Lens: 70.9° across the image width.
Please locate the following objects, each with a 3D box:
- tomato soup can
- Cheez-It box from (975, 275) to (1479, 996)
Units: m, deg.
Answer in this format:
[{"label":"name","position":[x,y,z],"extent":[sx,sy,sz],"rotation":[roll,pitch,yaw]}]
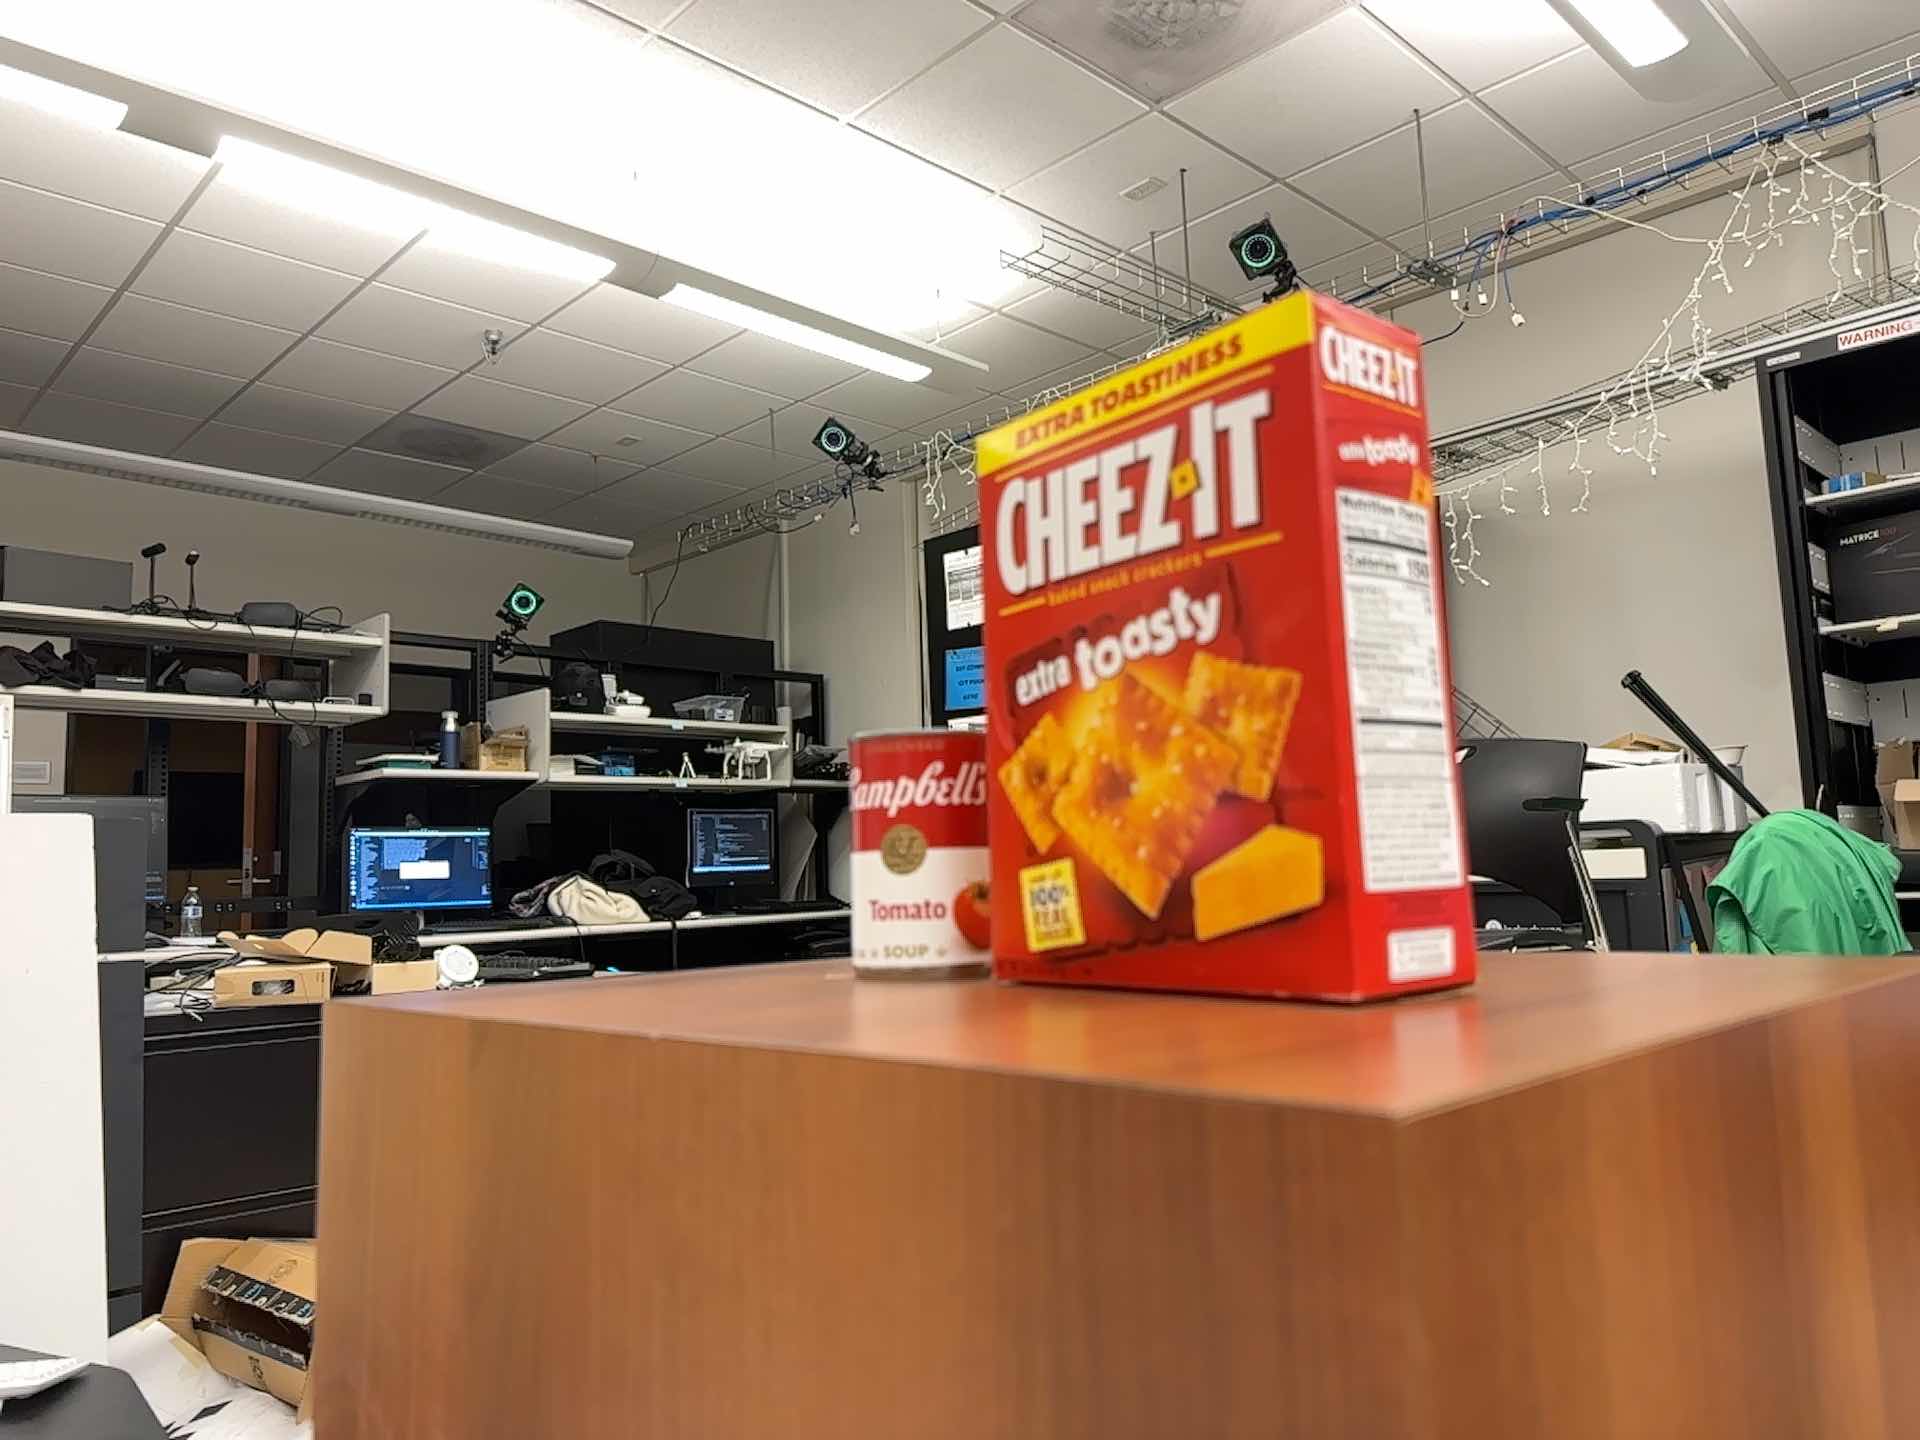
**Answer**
[{"label":"tomato soup can","position":[-0.016,0.059,0.570],"extent":[0.067,0.102,0.067],"rotation":[-1,-9,0]},{"label":"Cheez-It box","position":[0.083,-0.017,0.477],"extent":[0.062,0.214,0.159],"rotation":[5,-11,-40]}]
